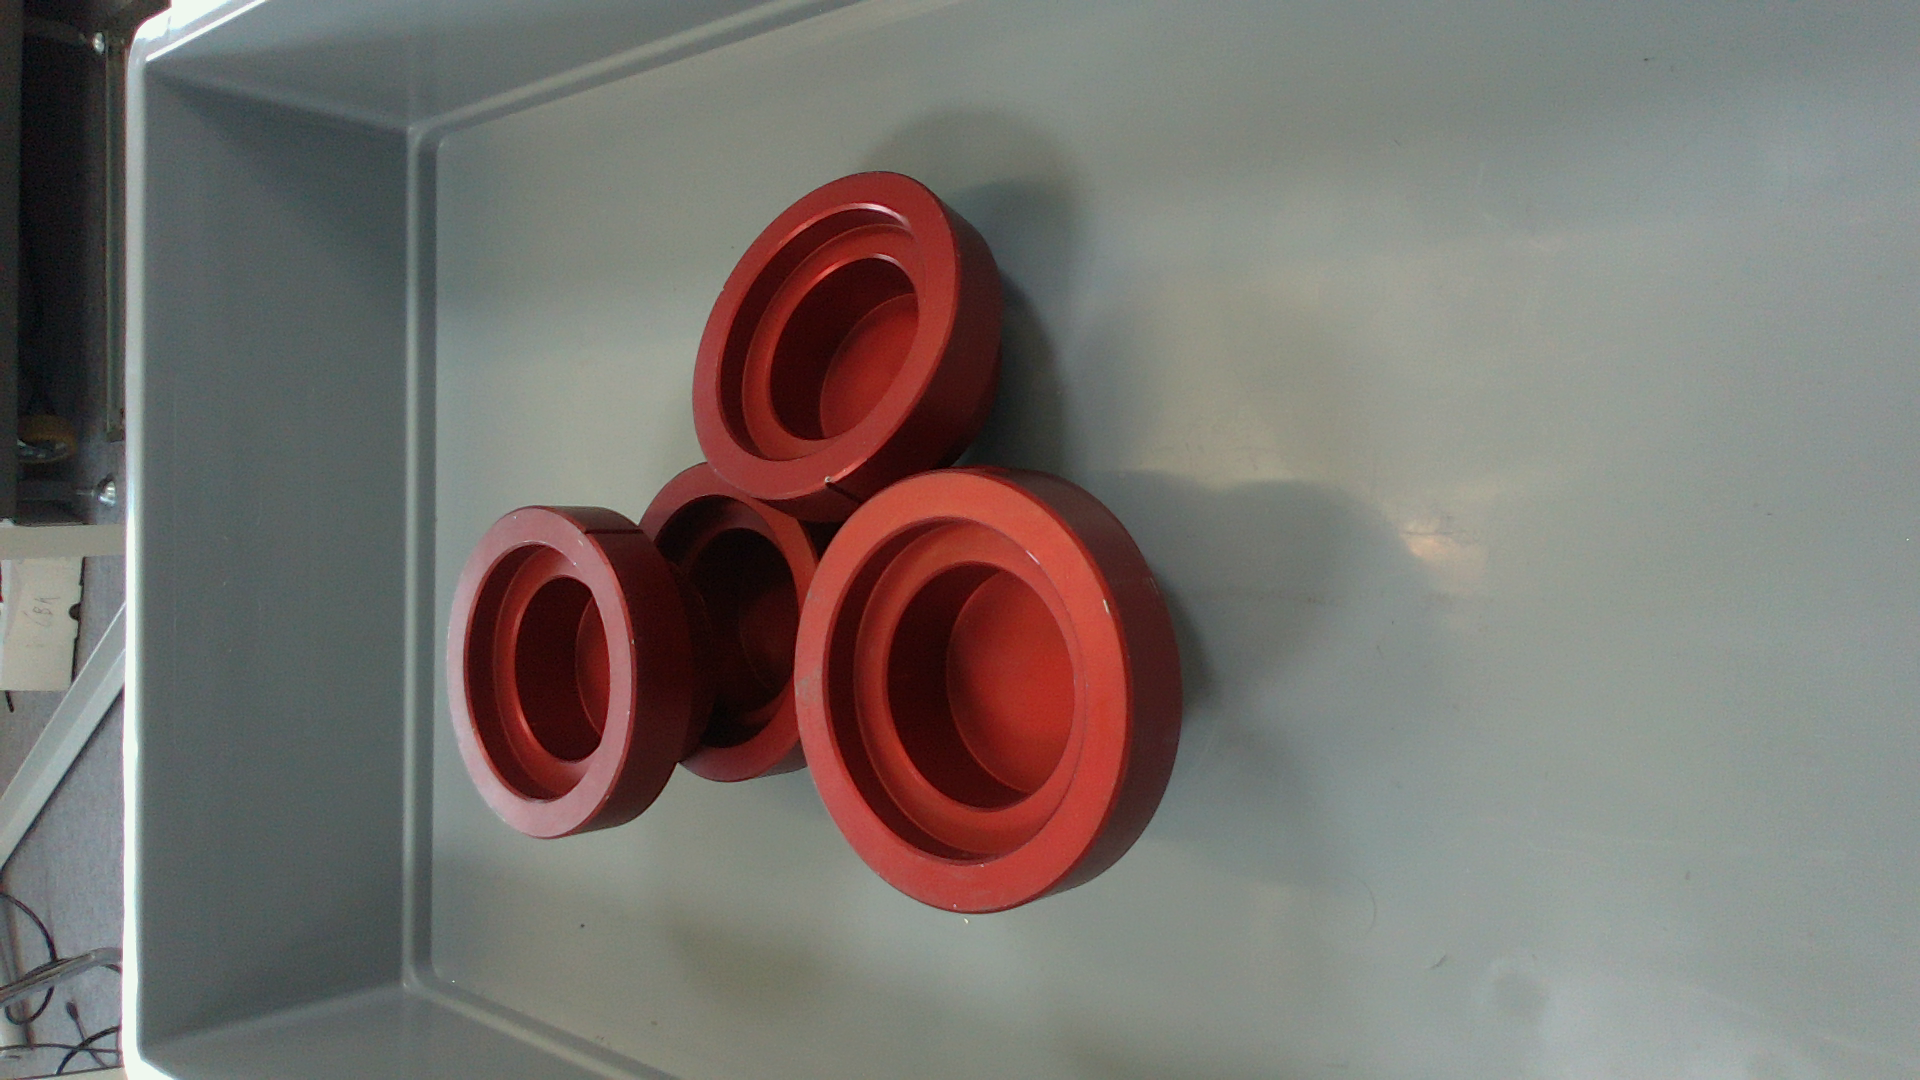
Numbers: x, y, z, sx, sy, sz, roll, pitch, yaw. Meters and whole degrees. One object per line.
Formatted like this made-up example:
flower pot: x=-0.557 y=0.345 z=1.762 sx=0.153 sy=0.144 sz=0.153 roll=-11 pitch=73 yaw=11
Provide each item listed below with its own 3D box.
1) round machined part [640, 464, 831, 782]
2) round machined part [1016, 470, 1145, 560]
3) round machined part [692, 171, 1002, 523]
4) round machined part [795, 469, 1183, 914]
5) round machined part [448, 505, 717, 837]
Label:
round machined part: x=-0.061 y=0.025 z=0.434 sx=0.098 sy=0.042 sz=0.098 roll=0 pitch=90 yaw=40
round machined part: x=0.015 y=0.030 z=0.370 sx=0.098 sy=0.042 sz=0.098 roll=0 pitch=90 yaw=40
round machined part: x=-0.027 y=-0.051 z=0.392 sx=0.098 sy=0.042 sz=0.098 roll=-16 pitch=63 yaw=33
round machined part: x=0.010 y=0.033 z=0.320 sx=0.098 sy=0.042 sz=0.098 roll=0 pitch=90 yaw=40
round machined part: x=-0.113 y=0.039 z=0.423 sx=0.098 sy=0.042 sz=0.098 roll=0 pitch=90 yaw=40
